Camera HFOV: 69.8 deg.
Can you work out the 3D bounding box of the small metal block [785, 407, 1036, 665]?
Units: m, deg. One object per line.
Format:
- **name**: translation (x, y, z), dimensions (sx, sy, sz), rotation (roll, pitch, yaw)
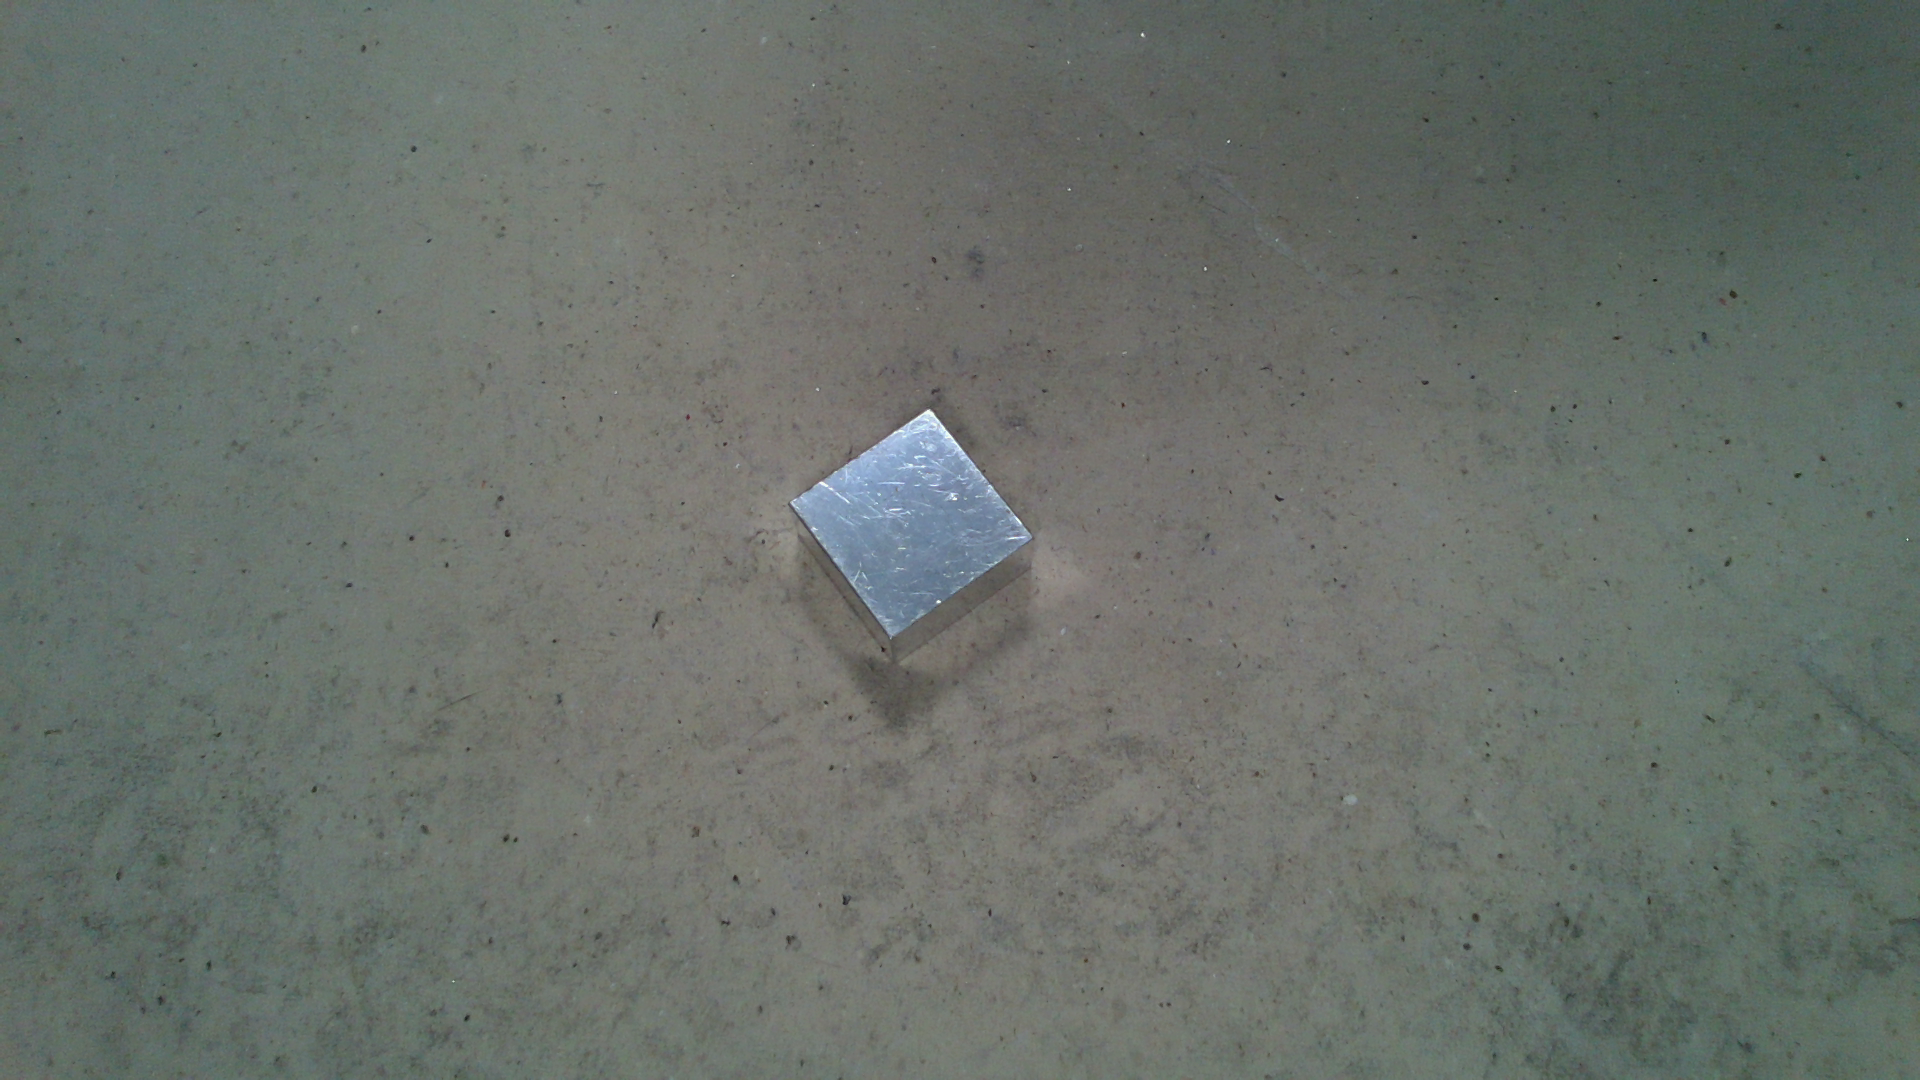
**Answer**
- **small metal block**: translation (-0.014, -0.001, 0.395), dimensions (0.050, 0.025, 0.050), rotation (-35, 74, -12)
